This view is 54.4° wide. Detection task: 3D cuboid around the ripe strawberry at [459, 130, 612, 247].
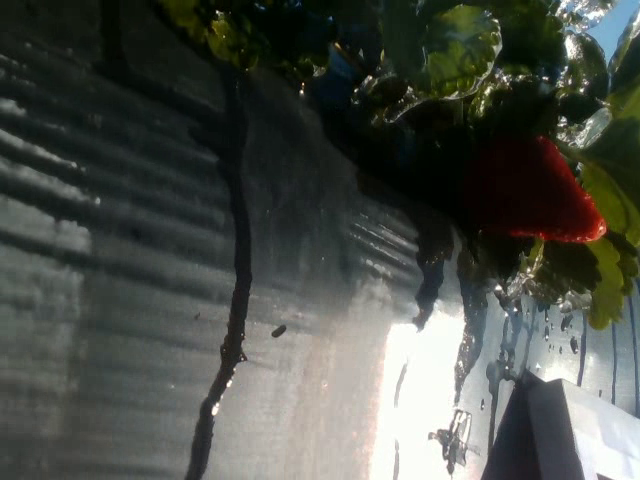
[{"bbox_3d":[0.075,-0.014,0.207,0.042,0.047,0.053,22,12,-36],"label":"ripe strawberry"}]
